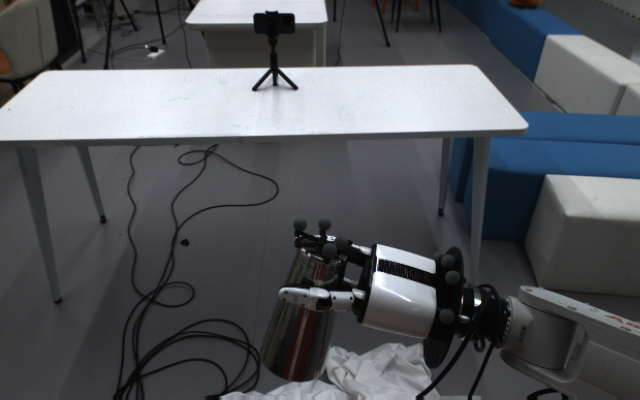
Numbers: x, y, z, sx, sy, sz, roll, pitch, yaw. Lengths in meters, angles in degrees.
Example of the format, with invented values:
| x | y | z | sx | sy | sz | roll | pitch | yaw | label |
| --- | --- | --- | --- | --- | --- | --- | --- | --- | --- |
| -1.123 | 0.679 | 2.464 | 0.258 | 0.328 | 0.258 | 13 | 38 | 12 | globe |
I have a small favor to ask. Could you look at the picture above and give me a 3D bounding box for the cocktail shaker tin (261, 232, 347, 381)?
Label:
| x | y | z | sx | sy | sz | roll | pitch | yaw | label |
| --- | --- | --- | --- | --- | --- | --- | --- | --- | --- |
| -0.015 | 0.138 | 0.641 | 0.093 | 0.170 | 0.093 | 14 | 18 | -5 | cocktail shaker tin |
